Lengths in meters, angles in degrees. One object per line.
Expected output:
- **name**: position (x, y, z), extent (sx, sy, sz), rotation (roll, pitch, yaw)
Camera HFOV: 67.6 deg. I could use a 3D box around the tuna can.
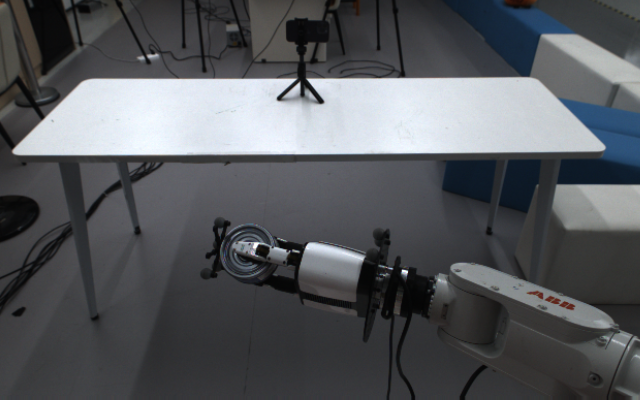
- **tuna can**: position (-0.101, 0.078, 0.714), extent (0.085, 0.034, 0.085), rotation (-2, 69, 6)
